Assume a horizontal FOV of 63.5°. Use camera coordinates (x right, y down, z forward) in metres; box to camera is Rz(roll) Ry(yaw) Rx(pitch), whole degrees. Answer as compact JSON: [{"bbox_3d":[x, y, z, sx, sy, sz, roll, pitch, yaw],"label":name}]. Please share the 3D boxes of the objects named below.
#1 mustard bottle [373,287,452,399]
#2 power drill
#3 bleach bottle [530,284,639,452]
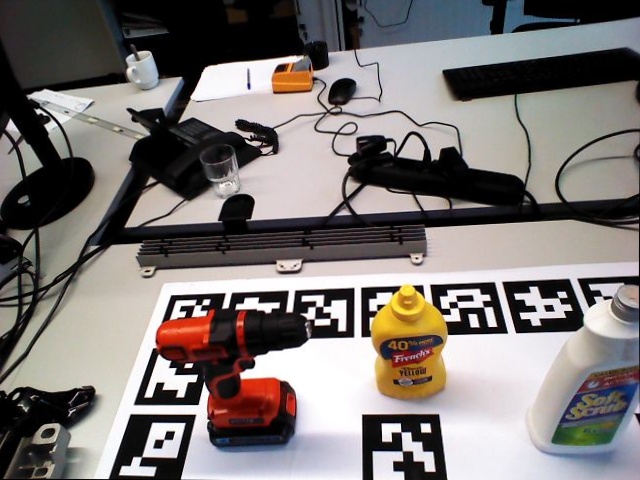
[{"bbox_3d":[0.116,0.127,0.650,0.096,0.192,0.058,-7,43,2],"label":"mustard bottle"},{"bbox_3d":[-0.079,0.146,0.626,0.185,0.187,0.057,-9,43,8],"label":"power drill"},{"bbox_3d":[0.296,0.139,0.551,0.103,0.251,0.067,3,45,15],"label":"bleach bottle"}]
